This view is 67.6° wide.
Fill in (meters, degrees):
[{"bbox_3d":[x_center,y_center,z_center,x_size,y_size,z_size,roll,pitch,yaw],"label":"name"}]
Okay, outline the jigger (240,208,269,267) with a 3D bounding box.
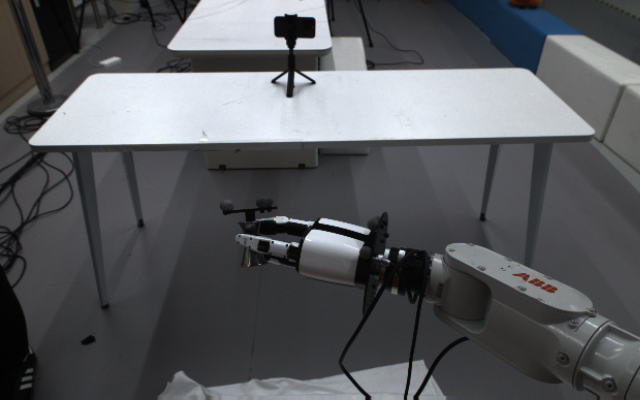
[{"bbox_3d":[-0.105,0.066,0.749,0.043,0.071,0.043,-4,2,0],"label":"jigger"}]
